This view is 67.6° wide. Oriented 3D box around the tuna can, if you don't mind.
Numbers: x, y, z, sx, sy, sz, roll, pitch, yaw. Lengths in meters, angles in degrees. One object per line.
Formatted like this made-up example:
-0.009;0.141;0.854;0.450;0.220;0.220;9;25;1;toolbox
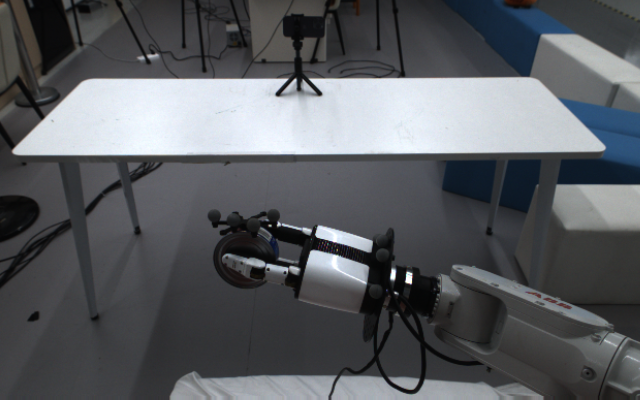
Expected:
-0.093;0.077;0.660;0.085;0.085;0.034;4;17;3;tuna can
